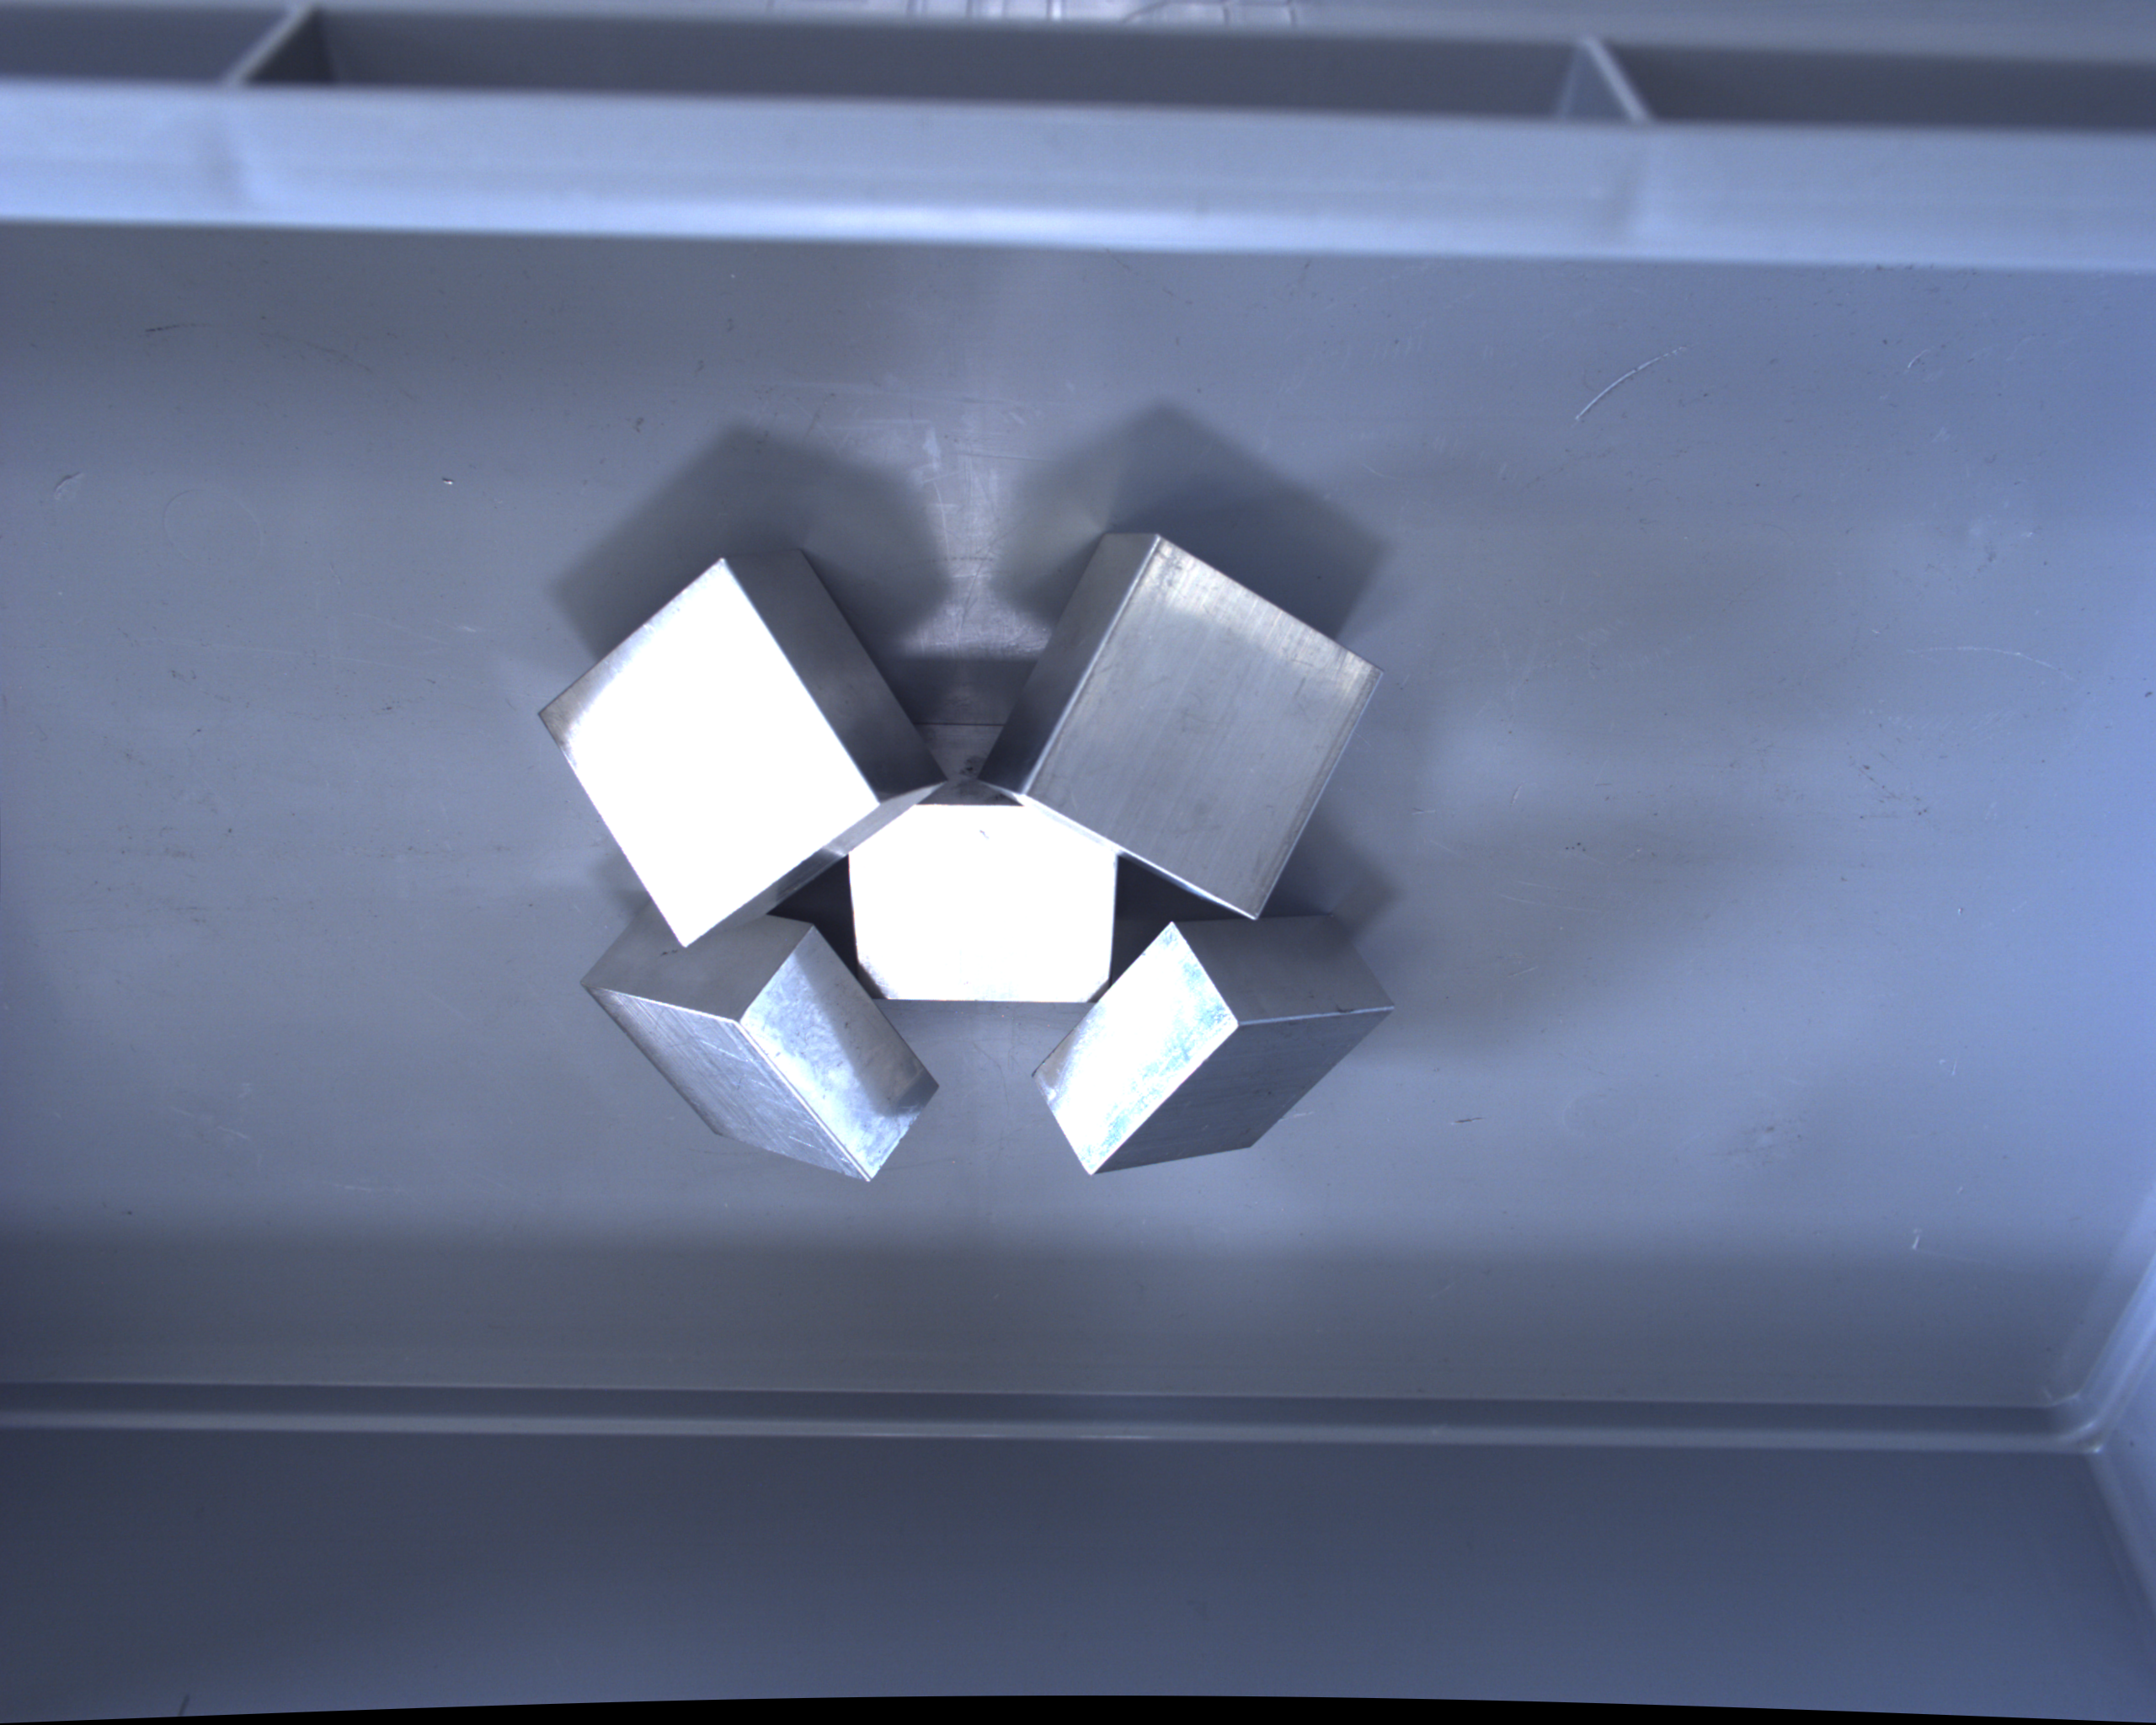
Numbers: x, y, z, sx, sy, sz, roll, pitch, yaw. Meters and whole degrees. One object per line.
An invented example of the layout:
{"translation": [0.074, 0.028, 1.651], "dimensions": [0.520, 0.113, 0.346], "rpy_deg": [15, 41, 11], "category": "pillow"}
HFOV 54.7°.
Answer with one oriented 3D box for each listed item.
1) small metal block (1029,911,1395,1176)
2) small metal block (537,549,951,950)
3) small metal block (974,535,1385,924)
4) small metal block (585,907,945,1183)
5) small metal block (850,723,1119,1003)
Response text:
{"translation": [0.027, 0.036, 0.423], "dimensions": [0.050, 0.025, 0.050], "rpy_deg": [-1, 141, -47], "category": "small metal block"}
{"translation": [-0.060, -0.020, 0.372], "dimensions": [0.050, 0.025, 0.050], "rpy_deg": [-35, 85, 26], "category": "small metal block"}
{"translation": [0.018, -0.024, 0.370], "dimensions": [0.050, 0.025, 0.050], "rpy_deg": [28, 87, -22], "category": "small metal block"}
{"translation": [-0.063, 0.034, 0.419], "dimensions": [0.050, 0.025, 0.050], "rpy_deg": [10, 144, 43], "category": "small metal block"}
{"translation": [-0.018, 0.000, 0.406], "dimensions": [0.050, 0.025, 0.050], "rpy_deg": [1, 130, -1], "category": "small metal block"}
